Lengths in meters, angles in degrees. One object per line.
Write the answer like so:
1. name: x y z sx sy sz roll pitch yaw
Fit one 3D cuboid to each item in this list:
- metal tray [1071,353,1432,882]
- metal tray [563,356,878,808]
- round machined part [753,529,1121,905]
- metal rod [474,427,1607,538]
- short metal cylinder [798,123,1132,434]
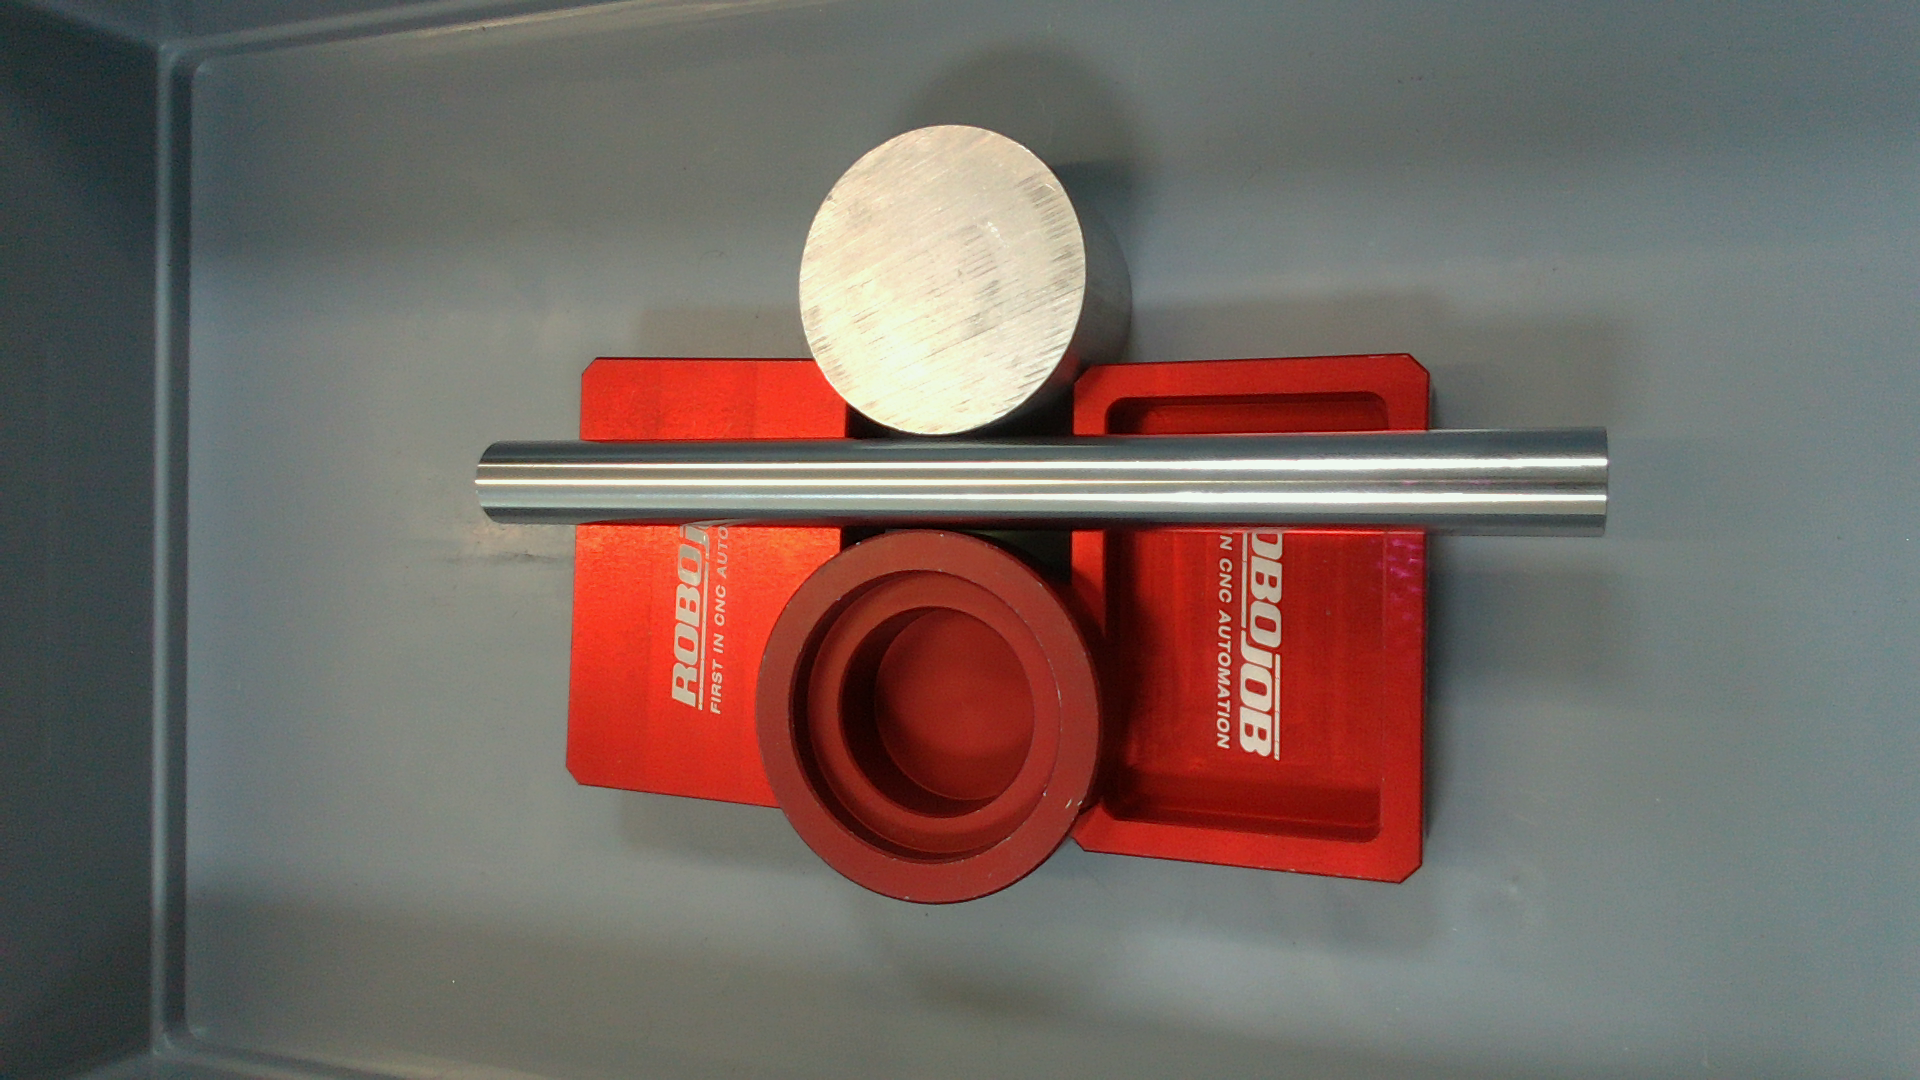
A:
1. metal tray: 0.076 0.019 0.364 0.090 0.030 0.130 1 90 20
2. metal tray: -0.071 0.011 0.416 0.090 0.030 0.130 3 91 20
3. round machined part: -0.003 0.046 0.377 0.098 0.042 0.098 0 90 20
4. metal rod: 0.004 -0.015 0.361 0.299 0.025 0.025 1 90 20
5. short metal cylinder: 0.003 -0.068 0.380 0.080 0.050 0.080 0 90 20
